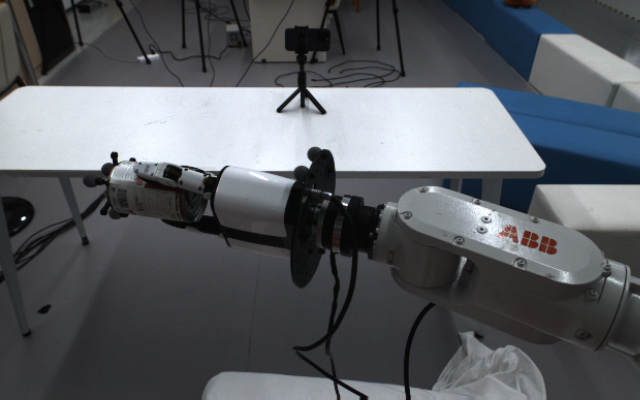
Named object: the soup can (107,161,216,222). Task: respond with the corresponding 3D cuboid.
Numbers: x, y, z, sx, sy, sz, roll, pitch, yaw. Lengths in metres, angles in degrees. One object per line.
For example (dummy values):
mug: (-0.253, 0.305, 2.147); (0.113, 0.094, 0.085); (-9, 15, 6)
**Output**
soup can: (-0.196, -0.009, 0.595); (0.101, 0.067, 0.067); (7, 35, 10)
